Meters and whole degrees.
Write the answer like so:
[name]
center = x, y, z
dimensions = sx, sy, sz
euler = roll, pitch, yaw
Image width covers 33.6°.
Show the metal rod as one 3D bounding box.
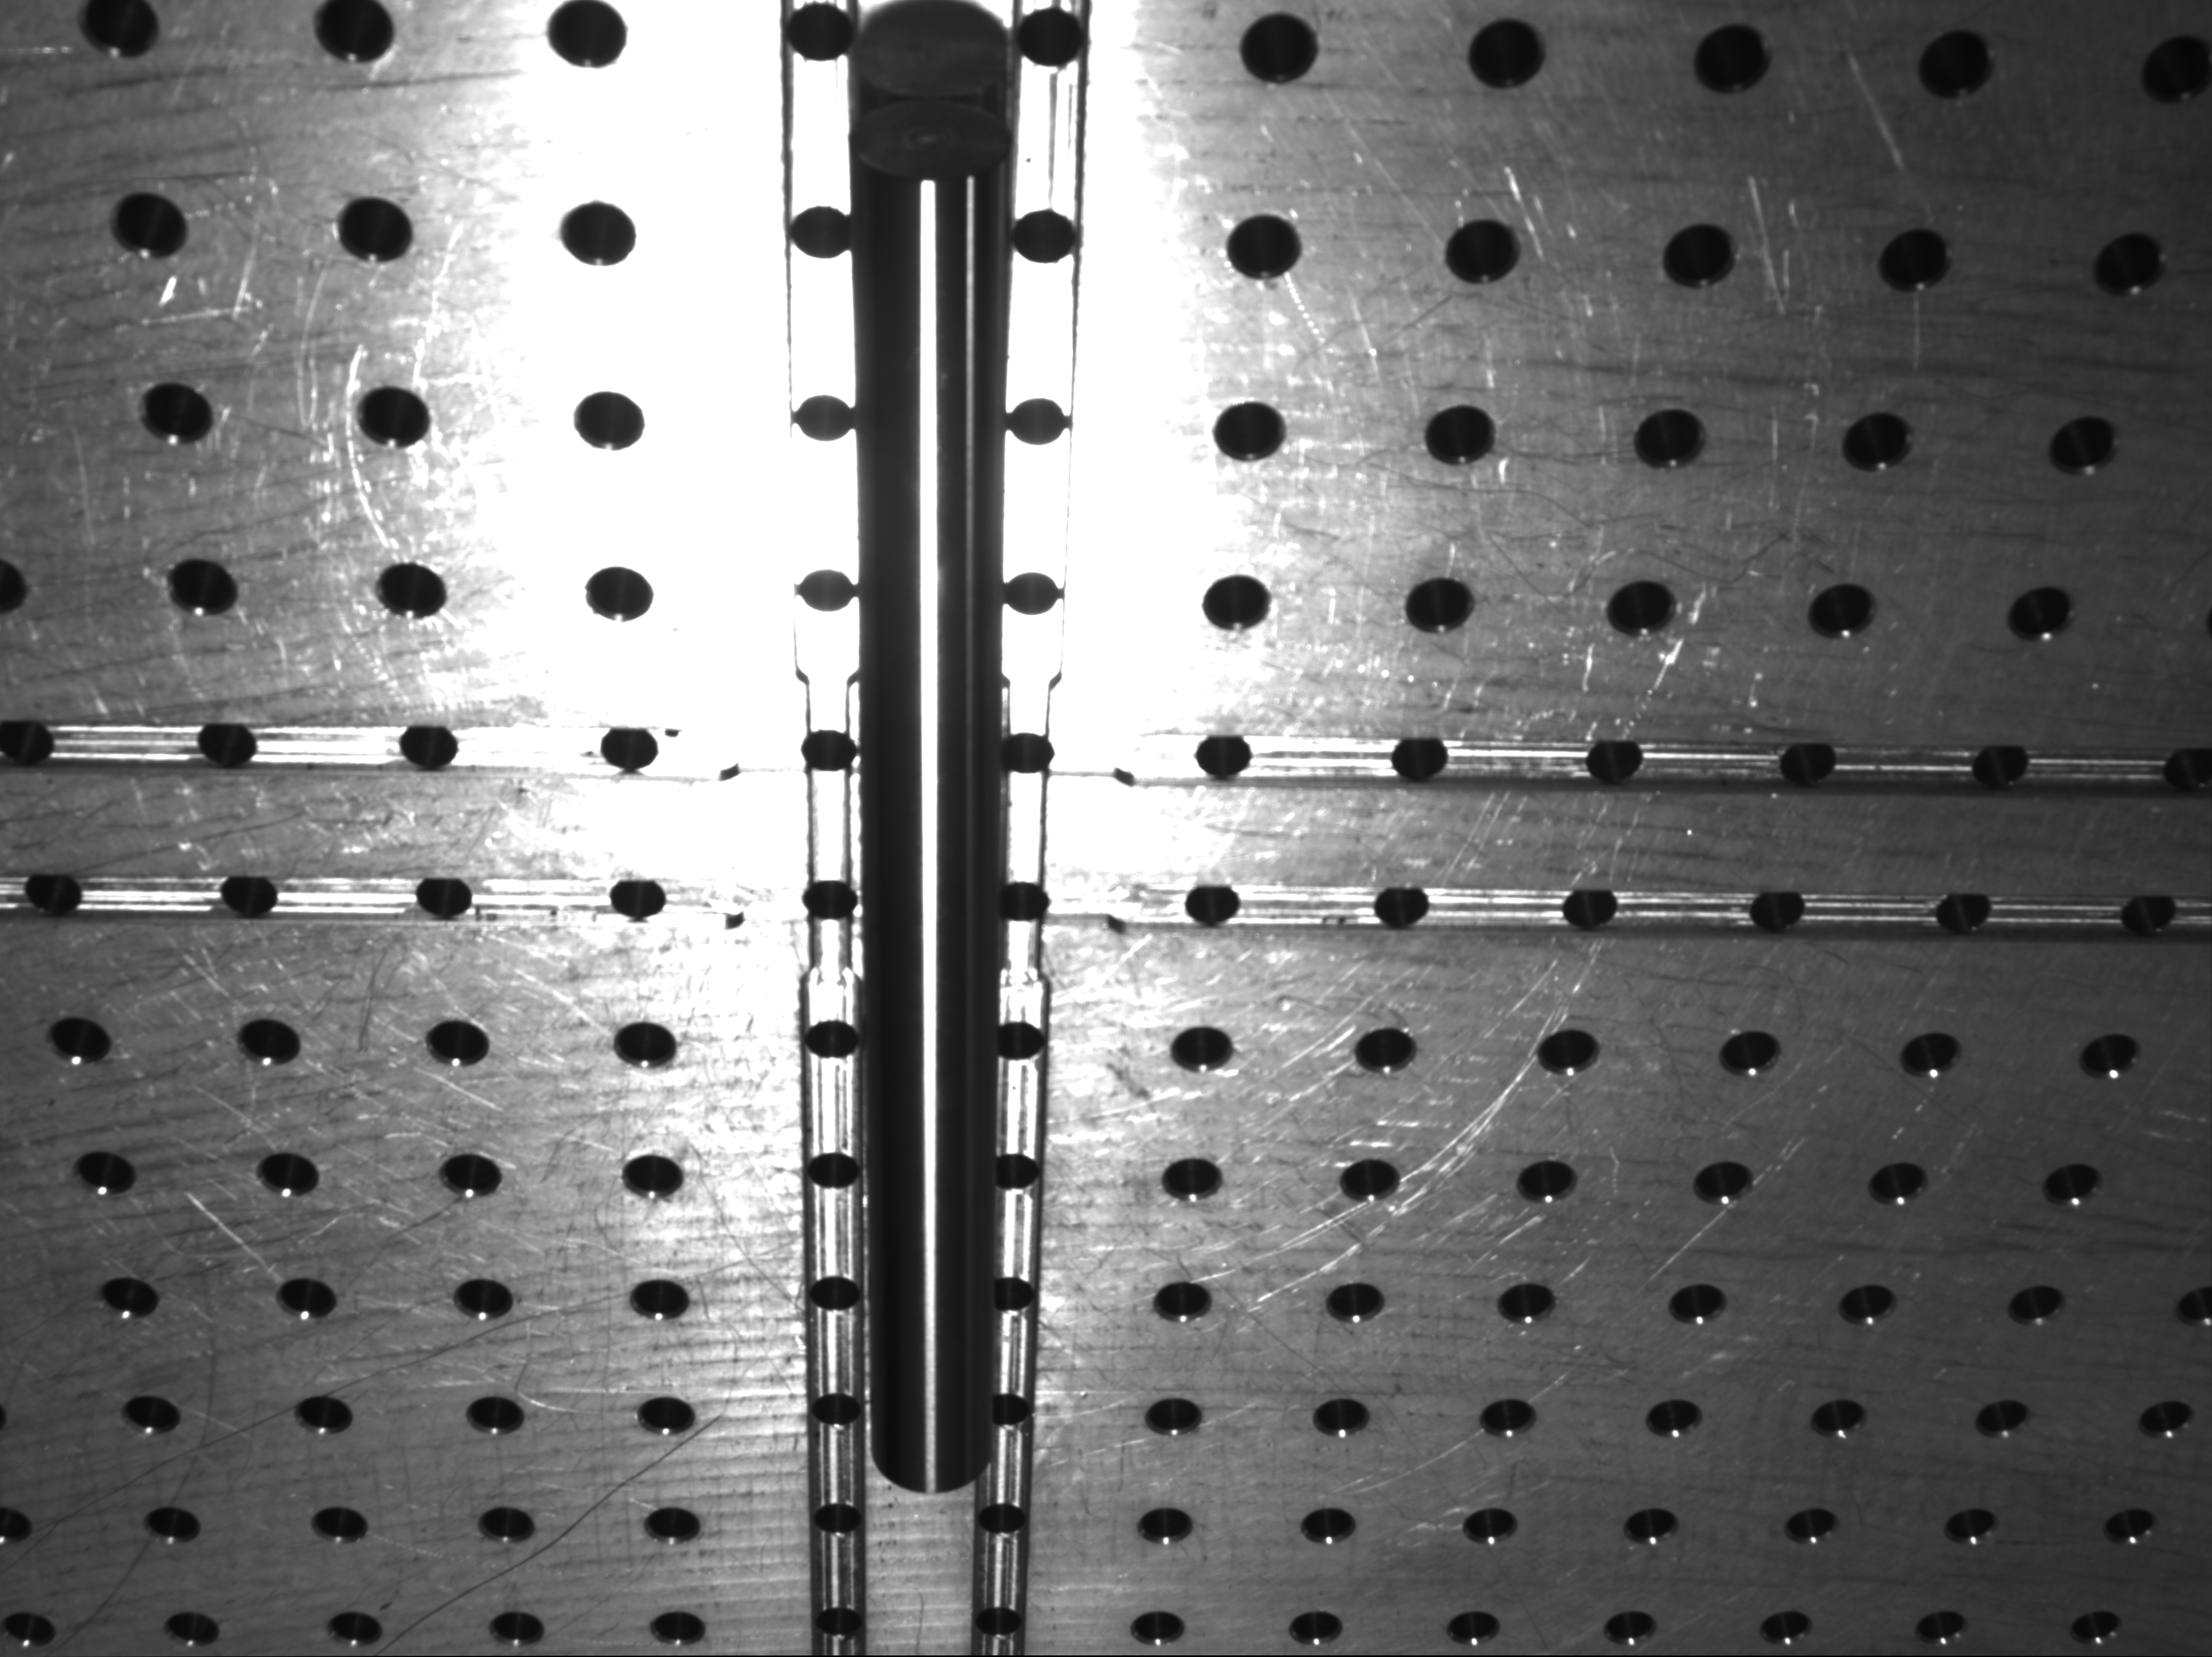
[metal rod]
center = -0.023, 0.011, 0.650
dimensions = 0.025, 0.025, 0.300
euler = 0, 130, -2
